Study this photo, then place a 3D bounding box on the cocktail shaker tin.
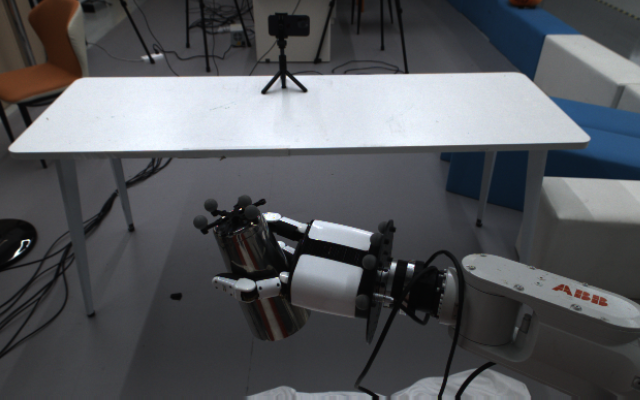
[{"bbox_3d":[-0.081,0.098,0.650,0.093,0.170,0.093,-15,27,8],"label":"cocktail shaker tin"}]
